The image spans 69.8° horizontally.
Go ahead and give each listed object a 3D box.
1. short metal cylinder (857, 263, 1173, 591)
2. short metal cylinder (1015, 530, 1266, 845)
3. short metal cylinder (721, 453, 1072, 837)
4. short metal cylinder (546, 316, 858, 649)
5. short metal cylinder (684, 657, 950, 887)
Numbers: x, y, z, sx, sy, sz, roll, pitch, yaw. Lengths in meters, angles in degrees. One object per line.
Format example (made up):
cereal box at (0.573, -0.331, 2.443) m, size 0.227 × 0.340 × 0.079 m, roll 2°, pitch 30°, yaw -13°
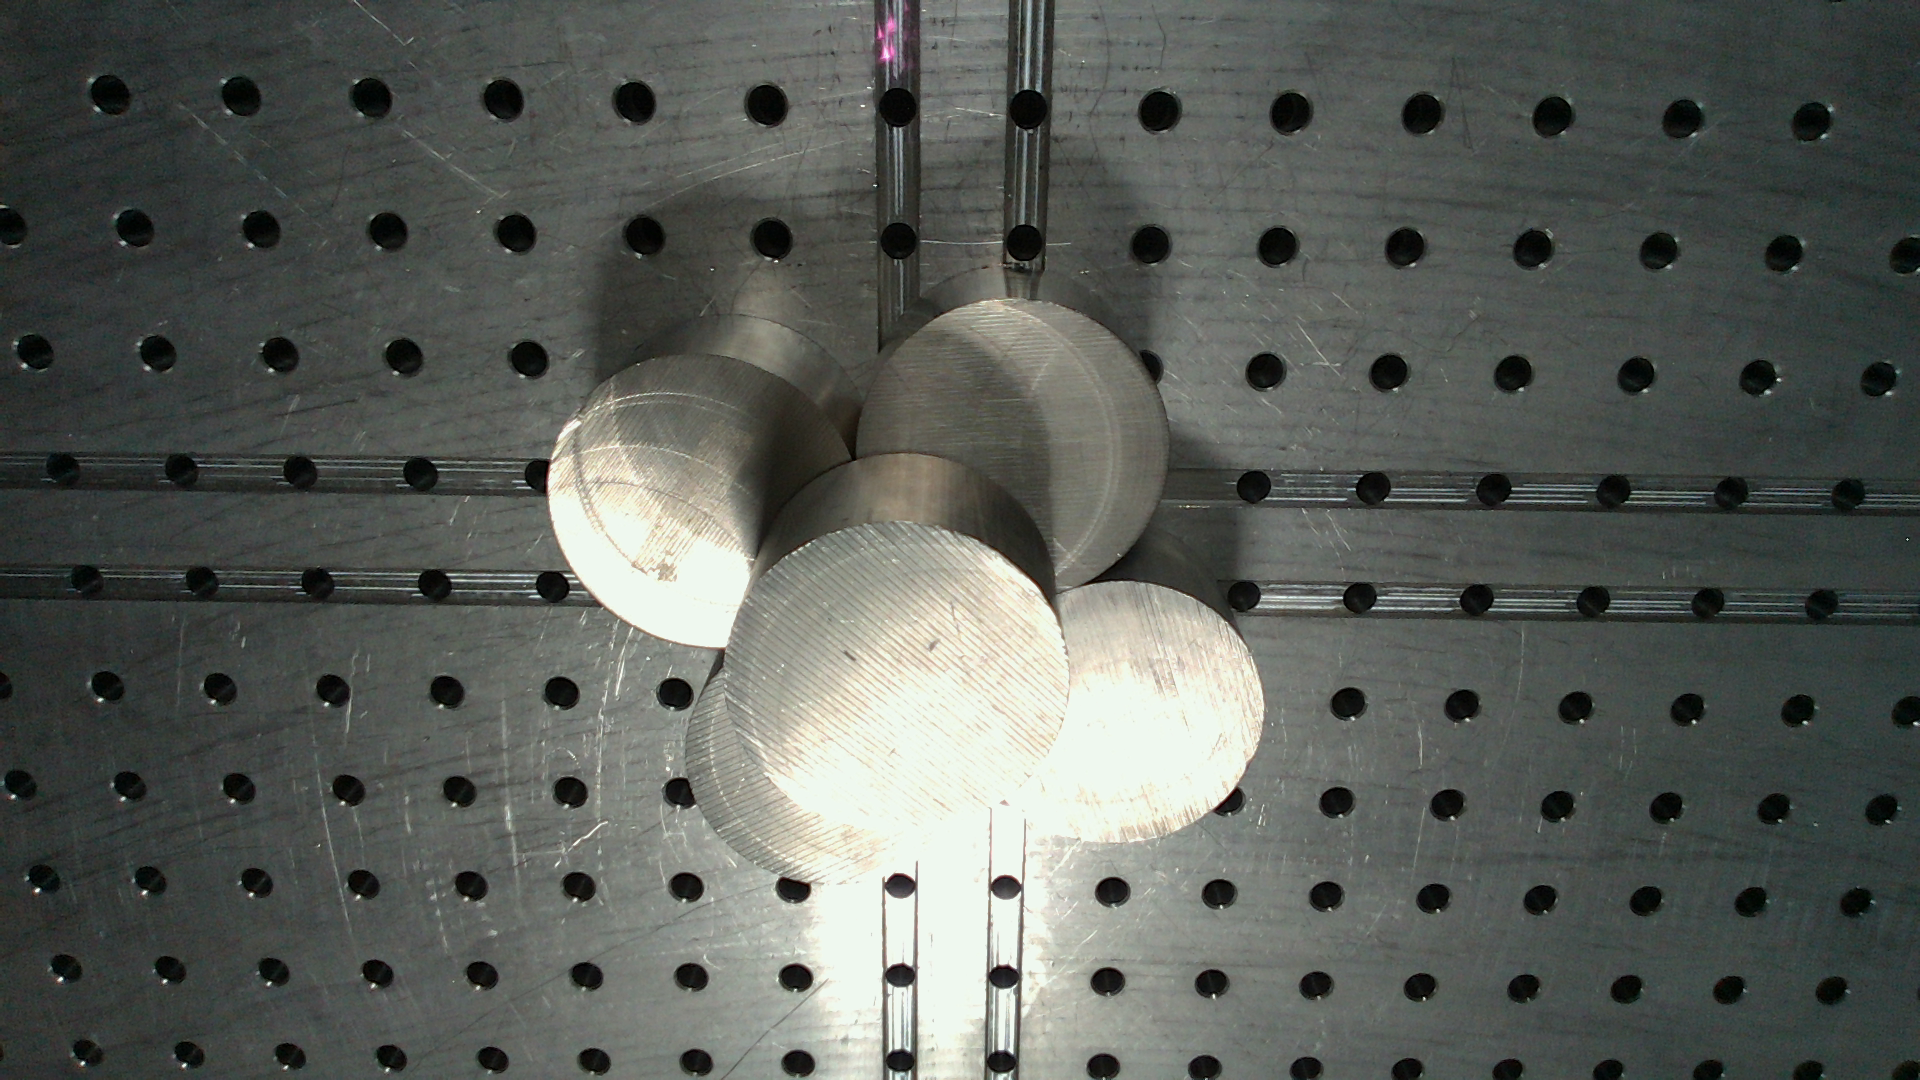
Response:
short metal cylinder at (0.014, -0.031, 0.371) m, size 0.080 × 0.050 × 0.080 m, roll 0°, pitch 110°, yaw 0°
short metal cylinder at (0.043, 0.040, 0.397) m, size 0.080 × 0.050 × 0.080 m, roll 0°, pitch 110°, yaw 0°
short metal cylinder at (-0.015, 0.025, 0.337) m, size 0.080 × 0.050 × 0.080 m, roll 0°, pitch 112°, yaw -1°
short metal cylinder at (-0.066, -0.017, 0.376) m, size 0.080 × 0.050 × 0.080 m, roll 0°, pitch 110°, yaw 0°
short metal cylinder at (-0.036, 0.053, 0.402) m, size 0.080 × 0.050 × 0.080 m, roll 0°, pitch 110°, yaw 0°
